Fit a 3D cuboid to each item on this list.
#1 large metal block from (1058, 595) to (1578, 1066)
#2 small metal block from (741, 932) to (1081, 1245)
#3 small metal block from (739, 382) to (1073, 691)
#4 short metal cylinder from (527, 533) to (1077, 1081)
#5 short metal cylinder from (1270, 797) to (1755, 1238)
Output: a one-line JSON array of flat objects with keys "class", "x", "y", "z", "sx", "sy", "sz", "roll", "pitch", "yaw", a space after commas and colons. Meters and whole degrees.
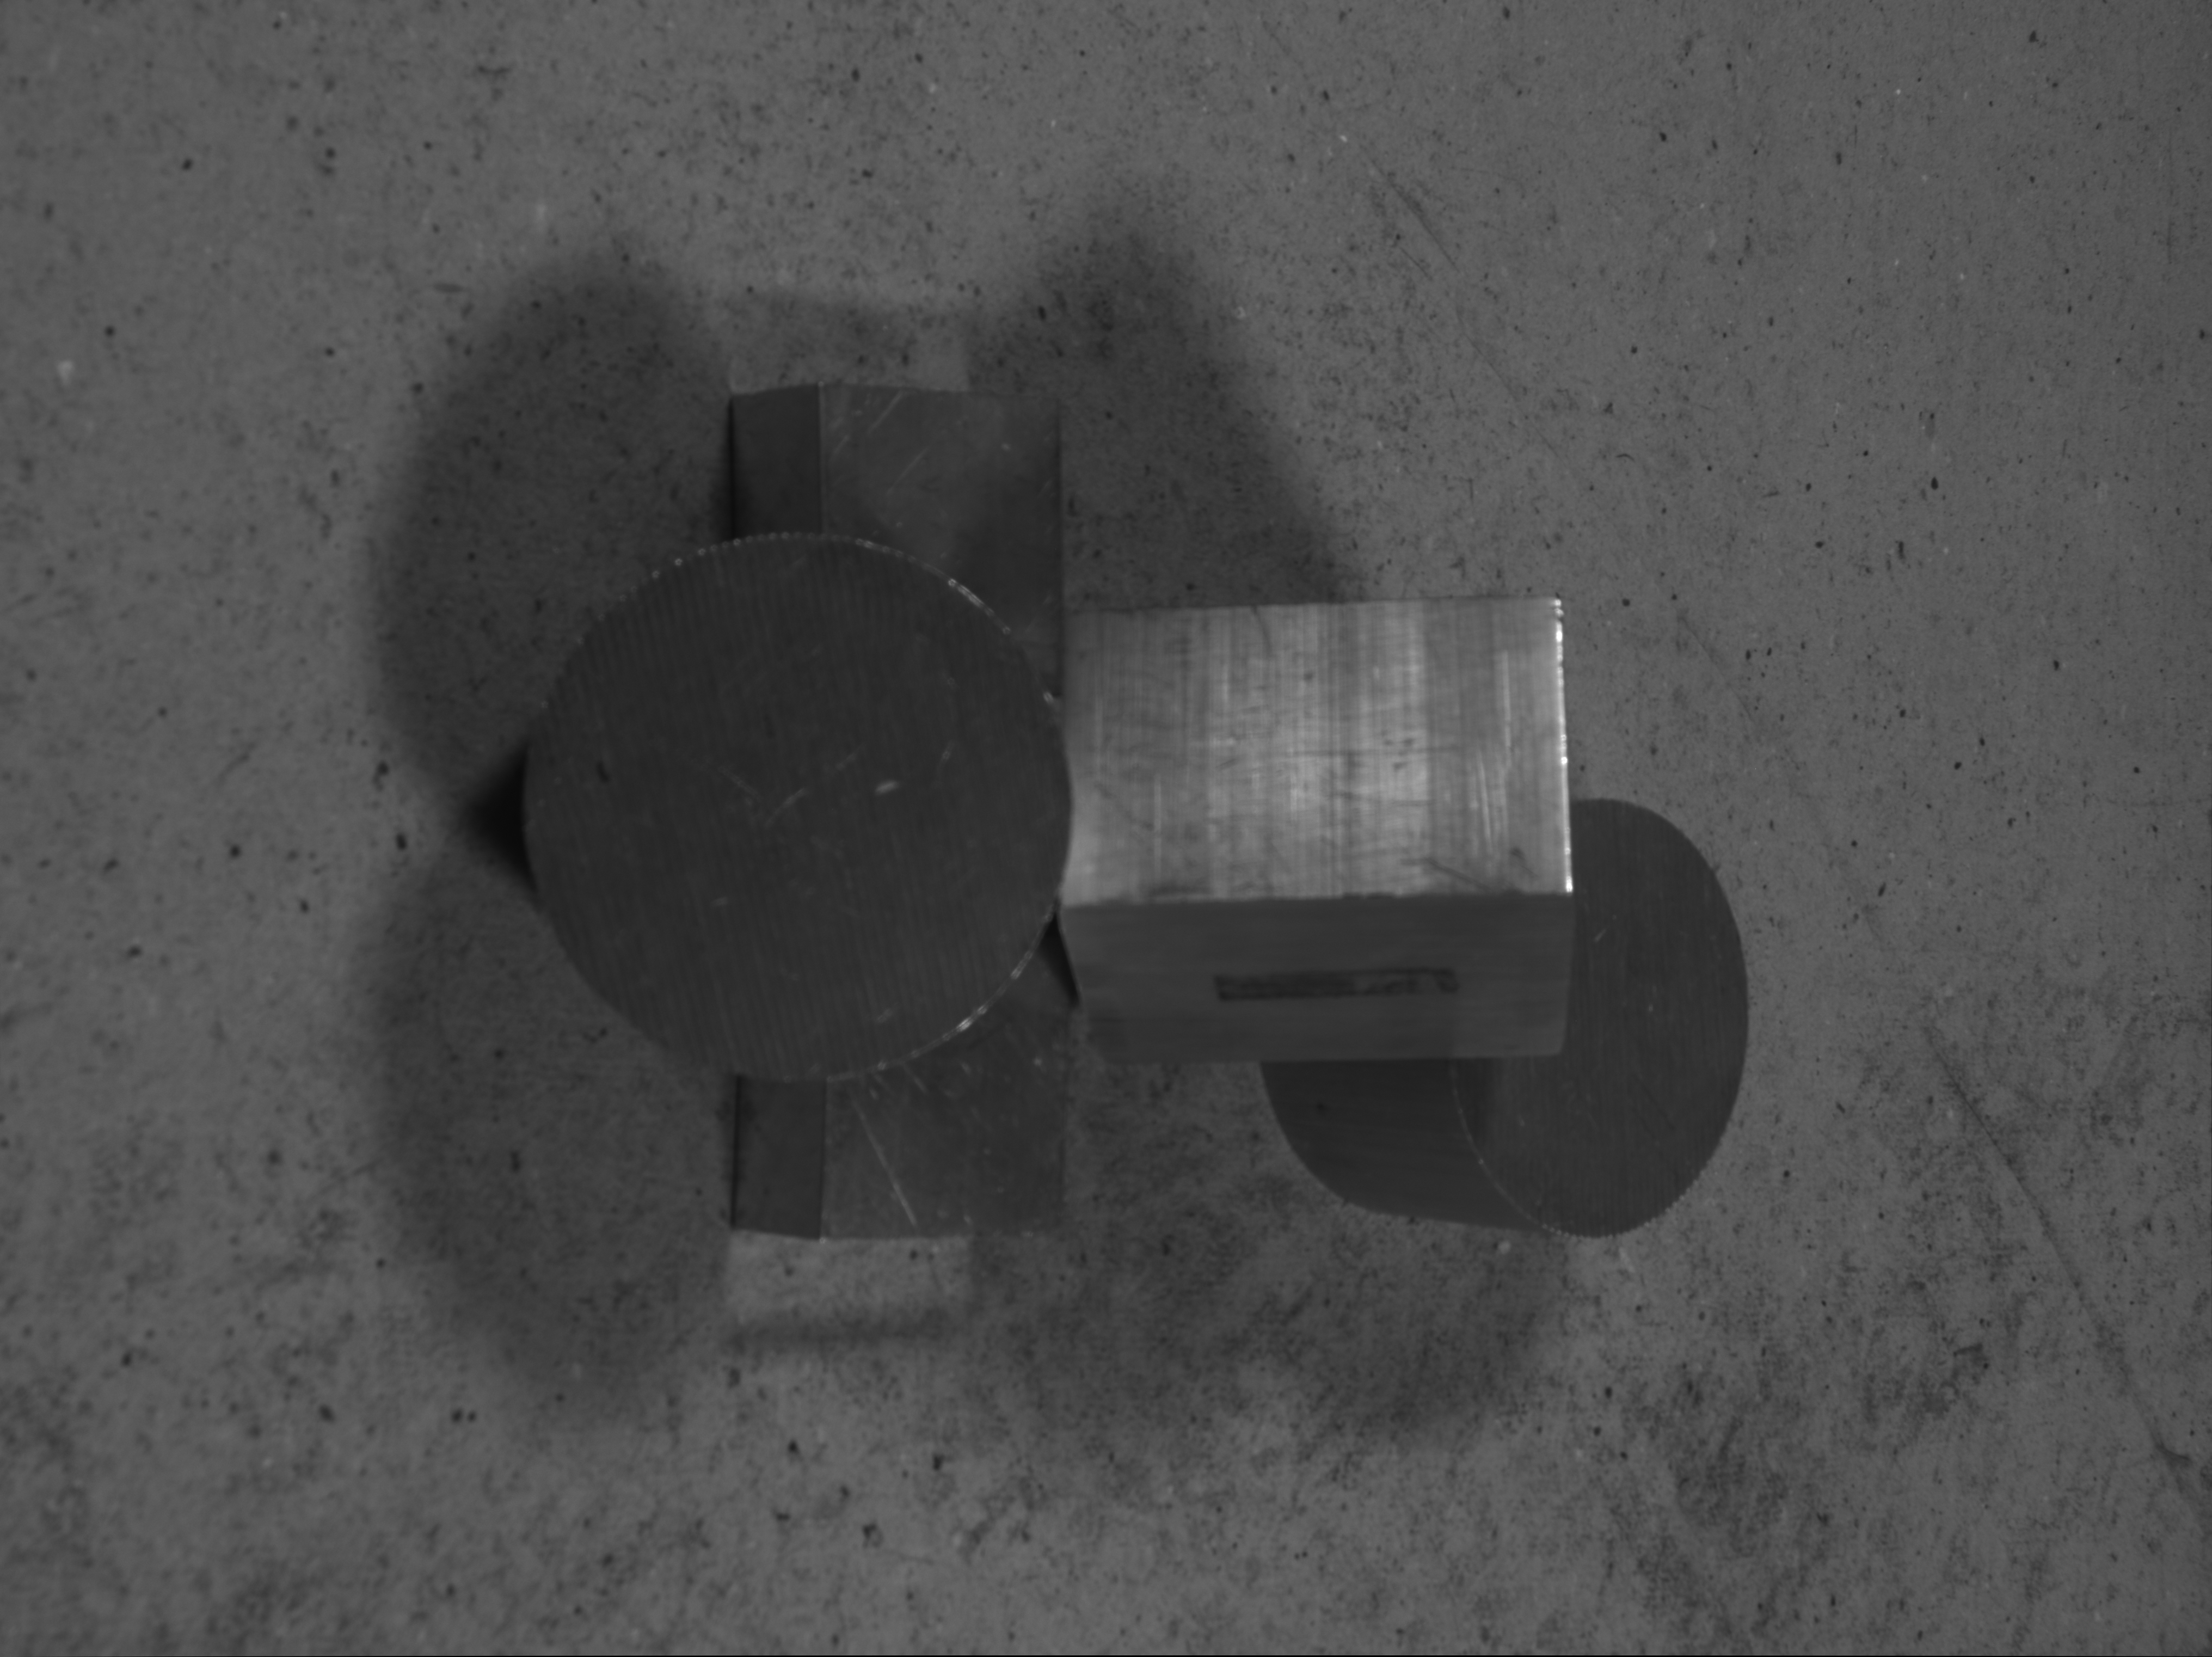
[{"class": "large metal block", "x": 0.036, "y": 0.002, "z": 0.608, "sx": 0.080, "sy": 0.080, "sz": 0.050, "roll": 77, "pitch": 13, "yaw": -68}, {"class": "small metal block", "x": -0.032, "y": 0.043, "z": 0.610, "sx": 0.050, "sy": 0.025, "sz": 0.050, "roll": 4, "pitch": 88, "yaw": -40}, {"class": "small metal block", "x": -0.033, "y": -0.047, "z": 0.610, "sx": 0.050, "sy": 0.025, "sz": 0.050, "roll": -1, "pitch": 91, "yaw": -40}, {"class": "short metal cylinder", "x": -0.046, "y": -0.003, "z": 0.560, "sx": 0.080, "sy": 0.050, "sz": 0.080, "roll": 0, "pitch": 91, "yaw": -4}, {"class": "short metal cylinder", "x": 0.076, "y": 0.034, "z": 0.684, "sx": 0.080, "sy": 0.050, "sz": 0.080, "roll": 0, "pitch": 90, "yaw": -40}]
